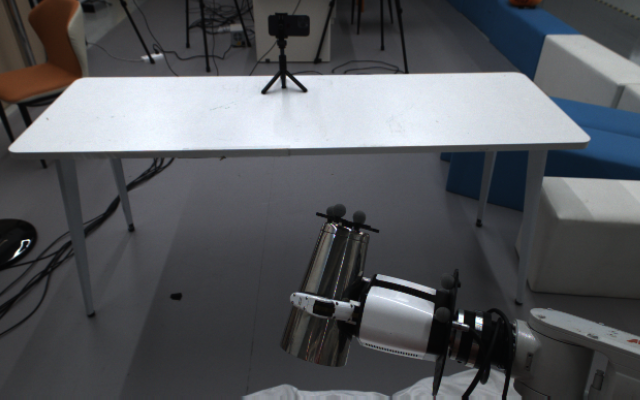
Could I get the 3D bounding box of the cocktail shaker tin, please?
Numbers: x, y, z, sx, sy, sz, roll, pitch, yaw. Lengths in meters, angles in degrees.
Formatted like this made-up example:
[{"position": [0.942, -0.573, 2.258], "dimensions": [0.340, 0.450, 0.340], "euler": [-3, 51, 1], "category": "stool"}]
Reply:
[{"position": [0.014, 0.121, 0.643], "dimensions": [0.093, 0.170, 0.093], "euler": [15, -4, 1], "category": "cocktail shaker tin"}]
